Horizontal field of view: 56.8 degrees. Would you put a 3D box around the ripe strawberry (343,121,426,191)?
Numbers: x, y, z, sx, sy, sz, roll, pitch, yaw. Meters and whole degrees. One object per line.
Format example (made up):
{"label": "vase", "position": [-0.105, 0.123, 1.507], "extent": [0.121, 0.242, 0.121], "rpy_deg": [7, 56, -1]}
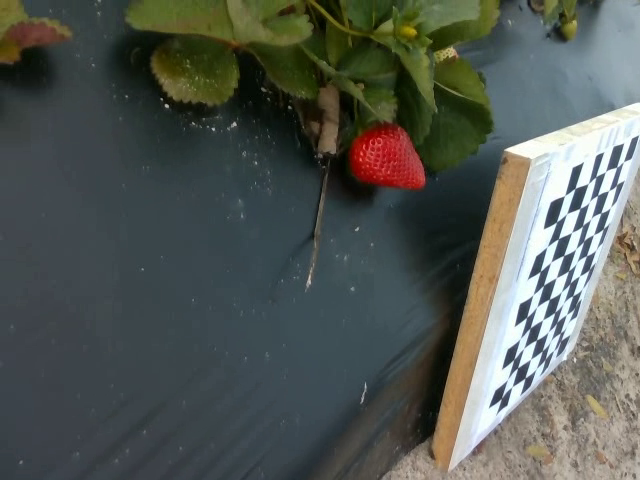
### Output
{"label": "ripe strawberry", "position": [0.035, -0.039, 0.283], "extent": [0.046, 0.037, 0.036], "rpy_deg": [39, -6, -2]}
